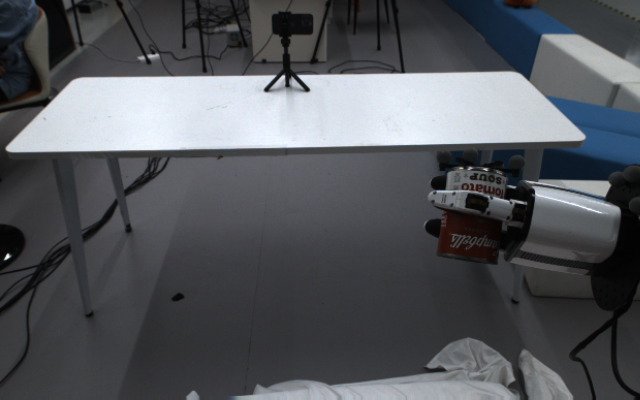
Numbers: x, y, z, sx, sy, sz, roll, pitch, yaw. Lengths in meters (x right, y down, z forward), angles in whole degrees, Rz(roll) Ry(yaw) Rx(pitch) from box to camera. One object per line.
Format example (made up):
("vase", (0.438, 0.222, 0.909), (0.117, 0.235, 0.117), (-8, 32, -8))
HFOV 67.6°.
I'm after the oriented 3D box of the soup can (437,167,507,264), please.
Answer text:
("soup can", (0.175, 0.018, 0.551), (0.067, 0.101, 0.067), (9, -6, 1))
